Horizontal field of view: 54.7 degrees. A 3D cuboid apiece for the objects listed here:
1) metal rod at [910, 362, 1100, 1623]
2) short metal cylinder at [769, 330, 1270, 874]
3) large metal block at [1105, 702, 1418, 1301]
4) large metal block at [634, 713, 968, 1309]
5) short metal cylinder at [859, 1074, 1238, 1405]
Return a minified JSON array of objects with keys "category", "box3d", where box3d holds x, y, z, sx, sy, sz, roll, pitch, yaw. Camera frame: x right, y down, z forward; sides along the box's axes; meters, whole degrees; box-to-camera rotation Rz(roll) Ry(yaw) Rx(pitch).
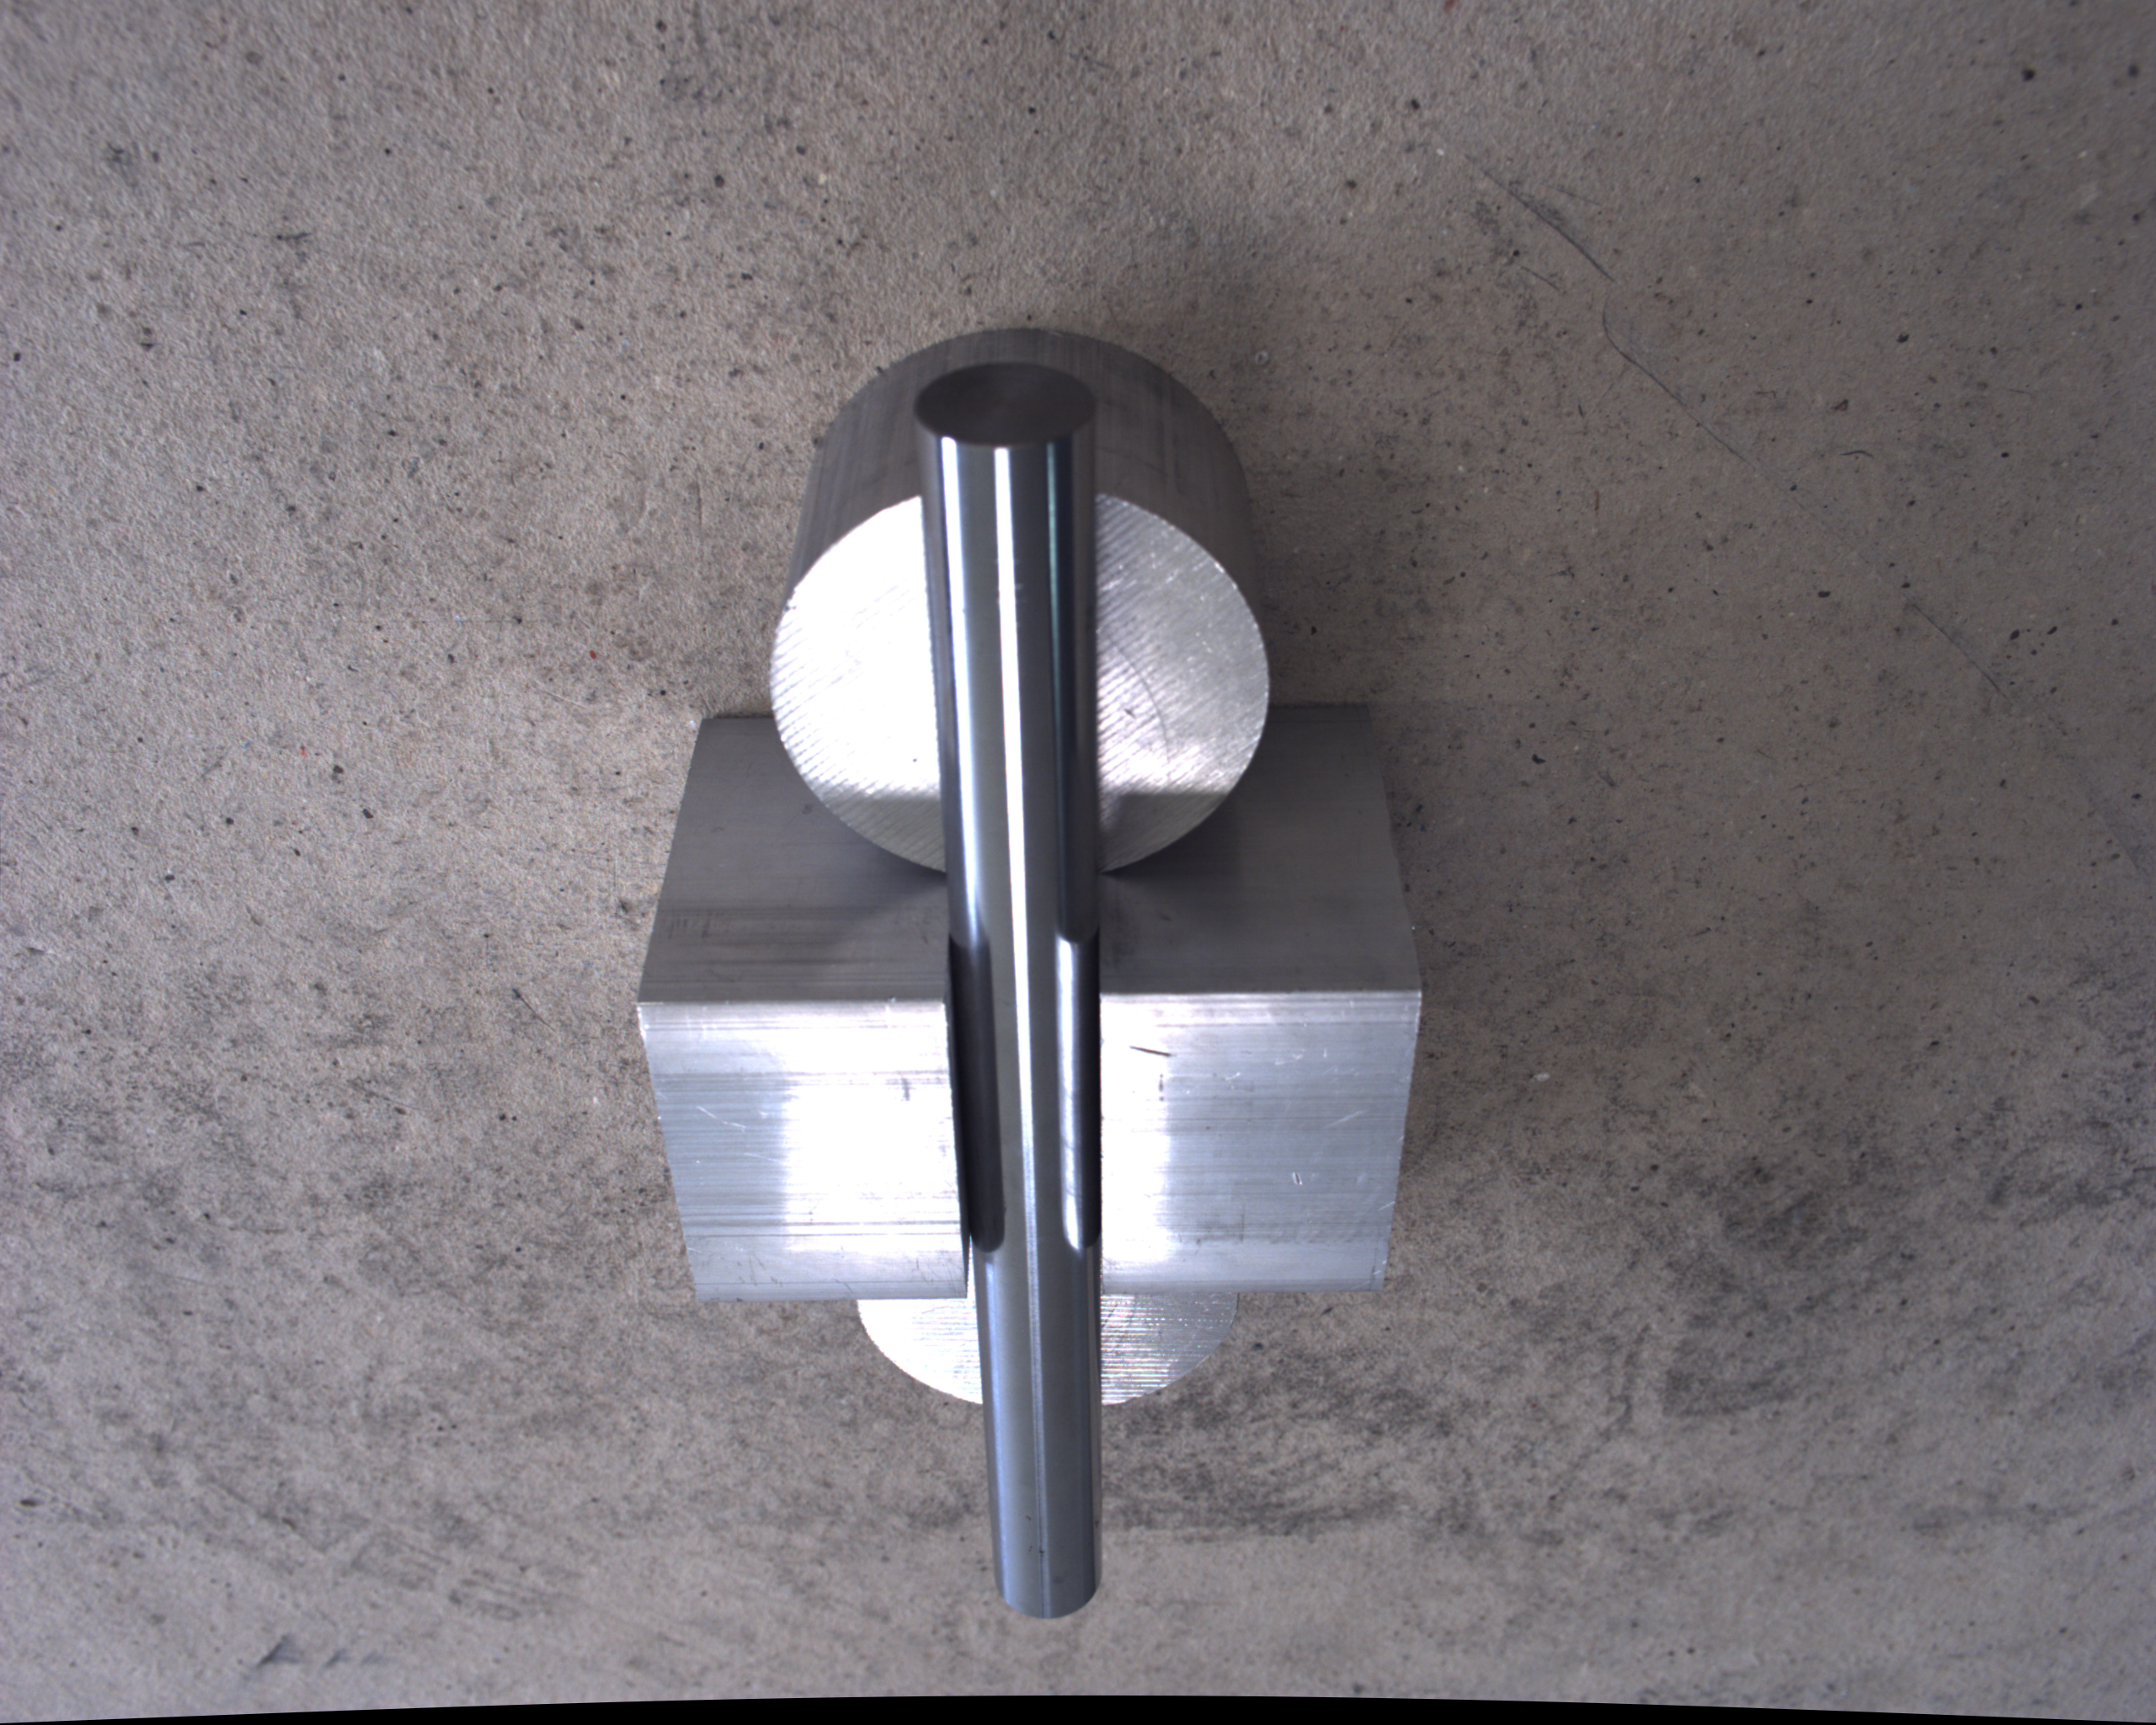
[{"category":"metal rod","box3d":[-0.009,0.050,0.385,0.025,0.025,0.298,-1,130,0]},{"category":"short metal cylinder","box3d":[-0.009,-0.043,0.356,0.081,0.050,0.079,0,130,0]},{"category":"large metal block","box3d":[0.031,0.025,0.394,0.050,0.080,0.079,-1,130,0]},{"category":"large metal block","box3d":[-0.046,0.027,0.395,0.050,0.080,0.079,-1,130,0]},{"category":"short metal cylinder","box3d":[-0.006,0.075,0.457,0.081,0.050,0.079,0,130,0]}]
